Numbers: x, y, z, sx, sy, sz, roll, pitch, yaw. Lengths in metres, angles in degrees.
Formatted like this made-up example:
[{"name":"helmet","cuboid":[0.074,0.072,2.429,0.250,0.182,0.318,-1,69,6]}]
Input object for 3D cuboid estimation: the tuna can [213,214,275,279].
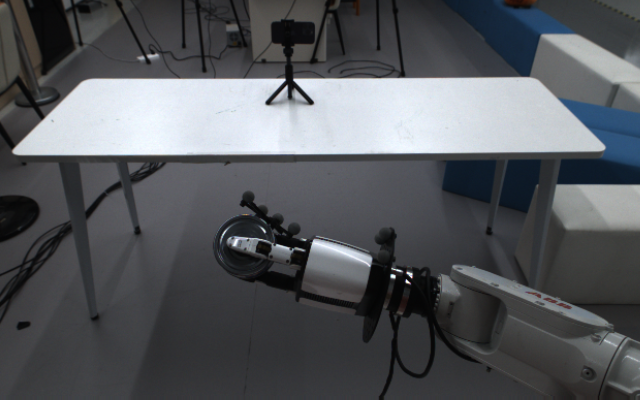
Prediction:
[{"name":"tuna can","cuboid":[-0.098,0.070,0.659,0.085,0.034,0.085,0,74,-1]}]
